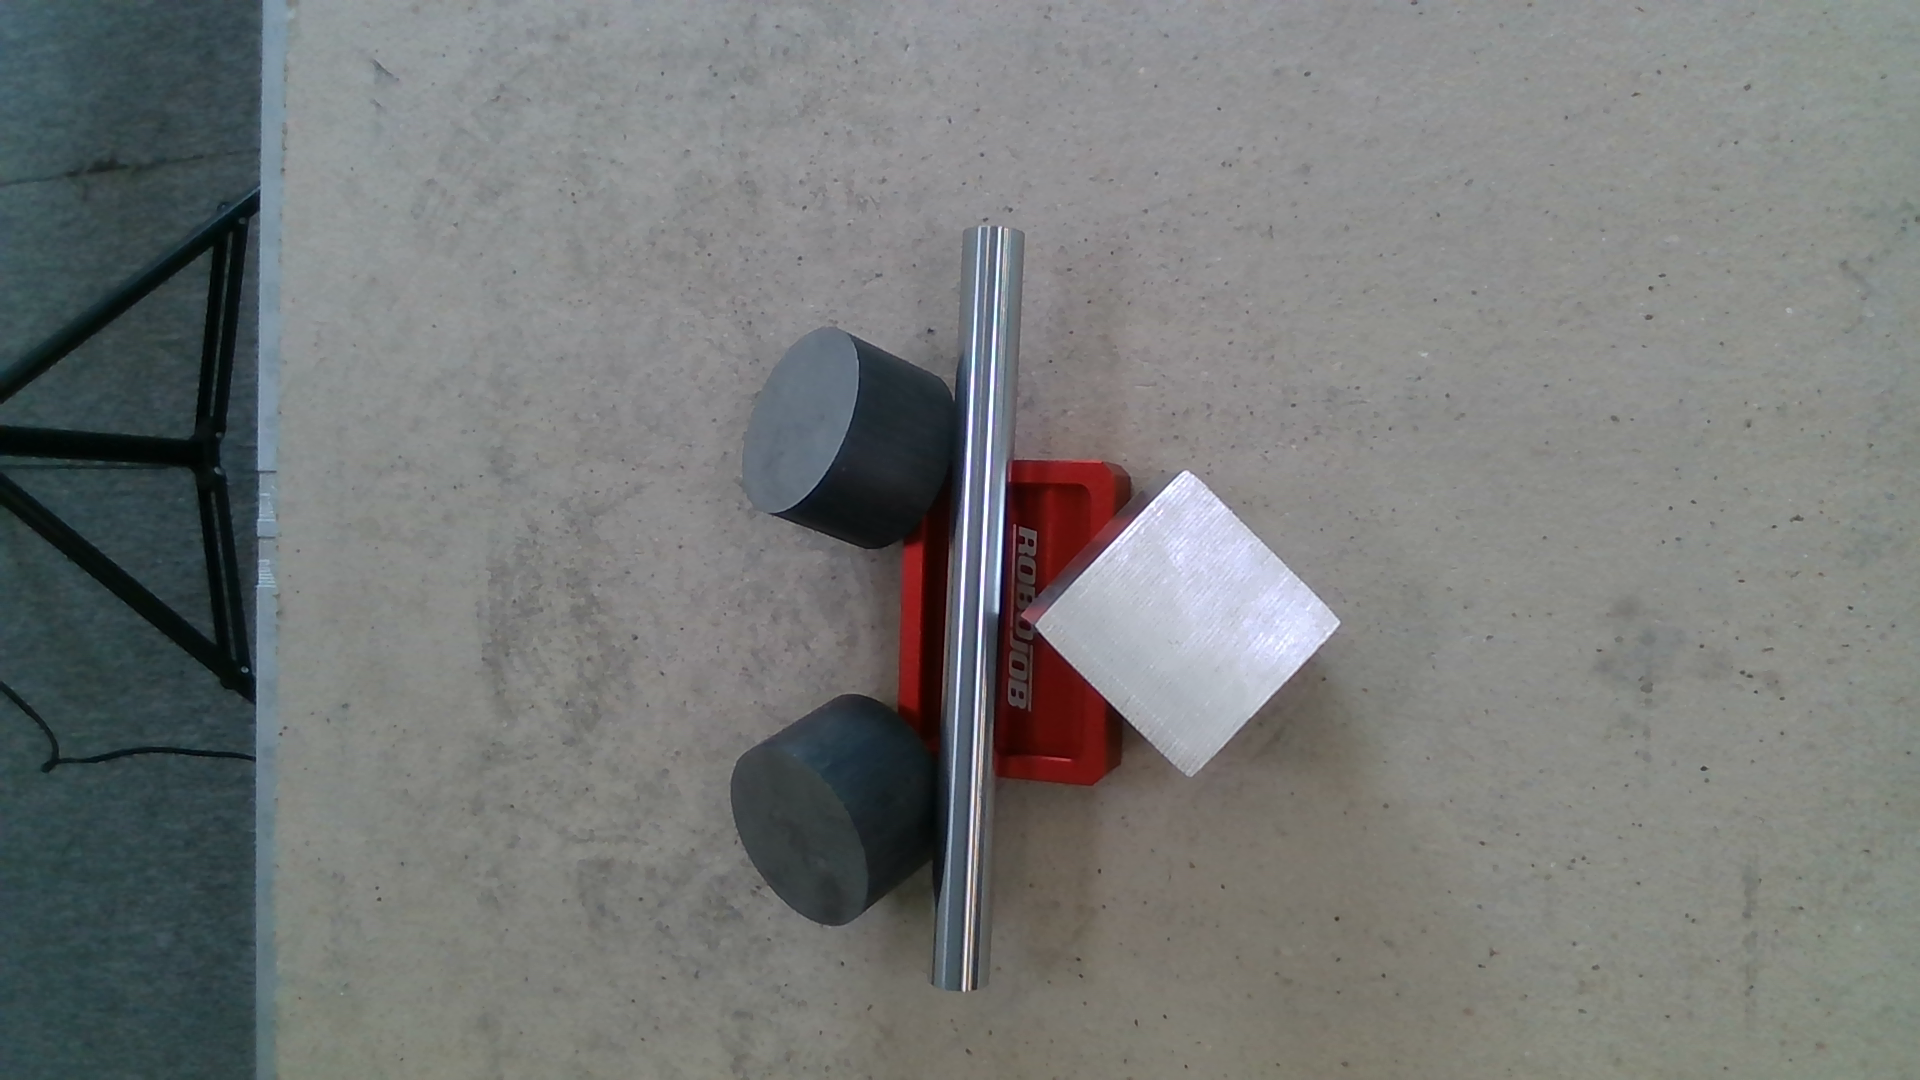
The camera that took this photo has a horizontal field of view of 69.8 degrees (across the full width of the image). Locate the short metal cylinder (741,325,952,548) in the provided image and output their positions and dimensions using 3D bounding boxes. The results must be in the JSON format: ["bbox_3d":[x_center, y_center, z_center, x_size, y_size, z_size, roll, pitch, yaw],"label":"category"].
[{"bbox_3d":[-0.047,-0.042,0.570,0.080,0.050,0.080,-27,53,42],"label":"short metal cylinder"}]

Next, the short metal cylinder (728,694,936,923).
[{"bbox_3d":[-0.051,0.111,0.575,0.080,0.050,0.080,20,122,35],"label":"short metal cylinder"}]

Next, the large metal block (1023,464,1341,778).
[{"bbox_3d":[0.080,0.029,0.520,0.080,0.050,0.080,45,89,-2],"label":"large metal block"}]

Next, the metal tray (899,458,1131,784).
[{"bbox_3d":[0.022,0.031,0.576,0.090,0.030,0.130,2,91,20],"label":"metal tray"}]

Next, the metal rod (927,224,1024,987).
[{"bbox_3d":[0.006,0.027,0.552,0.025,0.025,0.300,3,92,20],"label":"metal rod"}]
